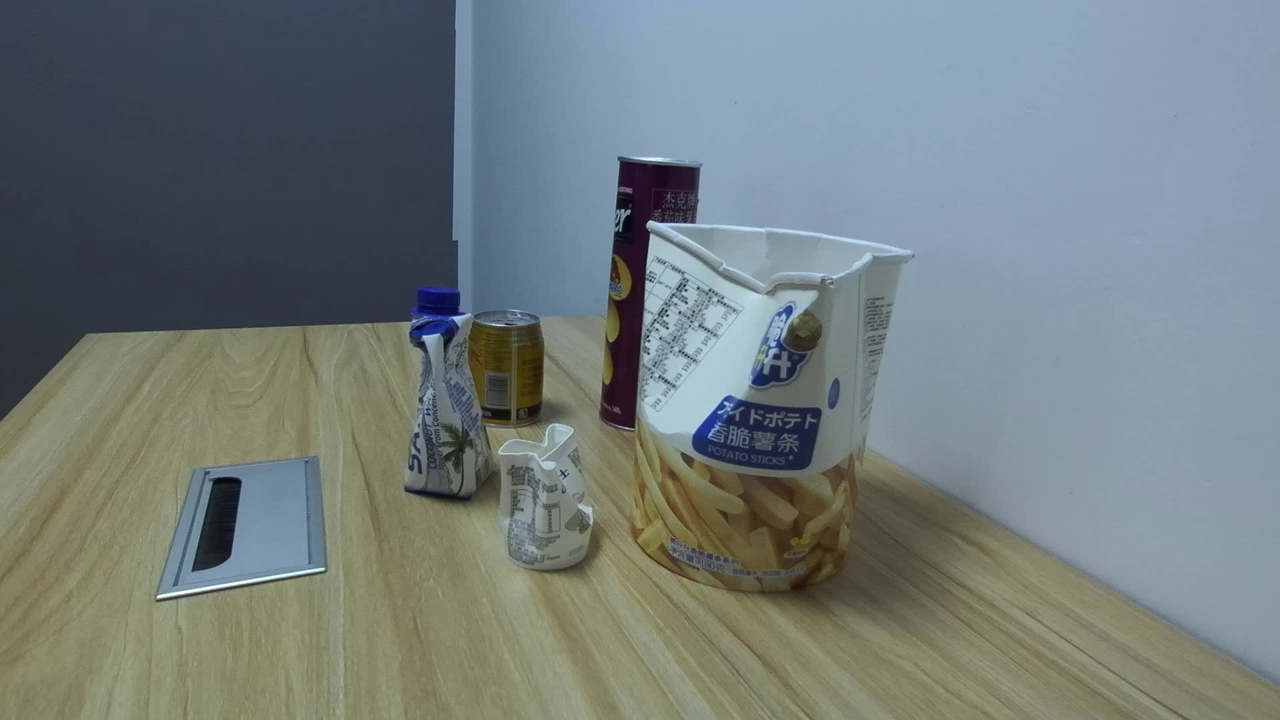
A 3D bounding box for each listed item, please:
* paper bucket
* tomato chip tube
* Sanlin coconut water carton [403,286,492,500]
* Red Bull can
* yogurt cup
[{"bbox_3d":[0.065,0.020,0.457,0.162,0.202,0.170,14,17,31],"label":"paper bucket"},{"bbox_3d":[0.010,-0.054,0.625,0.076,0.234,0.080,7,13,12],"label":"tomato chip tube"},{"bbox_3d":[-0.144,0.024,0.494,0.056,0.145,0.068,-1,22,10],"label":"Sanlin coconut water carton"},{"bbox_3d":[-0.123,0.008,0.643,0.068,0.093,0.068,3,14,-1],"label":"Red Bull can"},{"bbox_3d":[-0.058,0.084,0.435,0.055,0.072,0.055,13,21,33],"label":"yogurt cup"}]
